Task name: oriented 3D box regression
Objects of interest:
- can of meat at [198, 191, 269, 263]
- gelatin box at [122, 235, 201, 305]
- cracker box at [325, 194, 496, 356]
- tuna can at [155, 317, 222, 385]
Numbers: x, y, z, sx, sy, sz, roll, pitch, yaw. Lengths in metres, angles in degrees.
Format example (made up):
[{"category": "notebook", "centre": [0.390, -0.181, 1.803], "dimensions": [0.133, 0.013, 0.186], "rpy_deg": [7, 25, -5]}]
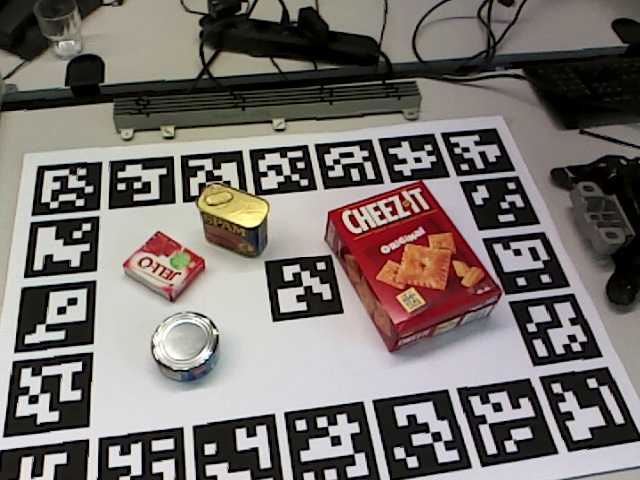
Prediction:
[{"category": "can of meat", "centre": [-0.129, -0.017, 0.940], "dimensions": [0.102, 0.083, 0.058], "rpy_deg": [18, 53, 11]}, {"category": "gelatin box", "centre": [-0.232, 0.043, 0.912], "dimensions": [0.090, 0.030, 0.073], "rpy_deg": [29, 53, 15]}, {"category": "cracker box", "centre": [0.127, 0.043, 0.913], "dimensions": [0.163, 0.072, 0.215], "rpy_deg": [-19, 54, -19]}, {"category": "tuna can", "centre": [-0.174, 0.149, 0.828], "dimensions": [0.086, 0.033, 0.086], "rpy_deg": [1, 56, -2]}]
